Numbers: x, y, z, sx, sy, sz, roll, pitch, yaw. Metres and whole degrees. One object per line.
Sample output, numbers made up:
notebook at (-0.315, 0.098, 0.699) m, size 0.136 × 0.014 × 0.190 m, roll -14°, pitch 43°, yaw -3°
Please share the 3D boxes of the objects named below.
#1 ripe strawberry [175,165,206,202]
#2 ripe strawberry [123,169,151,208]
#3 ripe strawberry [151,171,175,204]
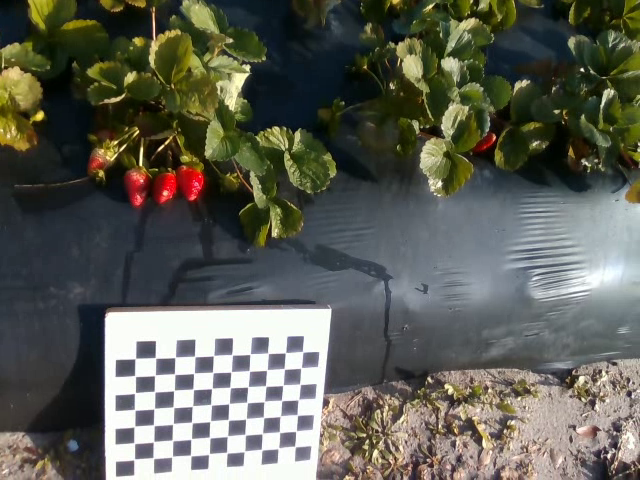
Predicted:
ripe strawberry at (-0.146, -0.058, 0.673) m, size 0.035 × 0.041 × 0.034 m, roll -4°, pitch -37°, yaw -12°
ripe strawberry at (-0.203, -0.058, 0.663) m, size 0.031 × 0.046 × 0.023 m, roll 0°, pitch -2°, yaw -13°
ripe strawberry at (-0.173, -0.057, 0.663) m, size 0.030 × 0.037 × 0.039 m, roll 11°, pitch 36°, yaw -15°
